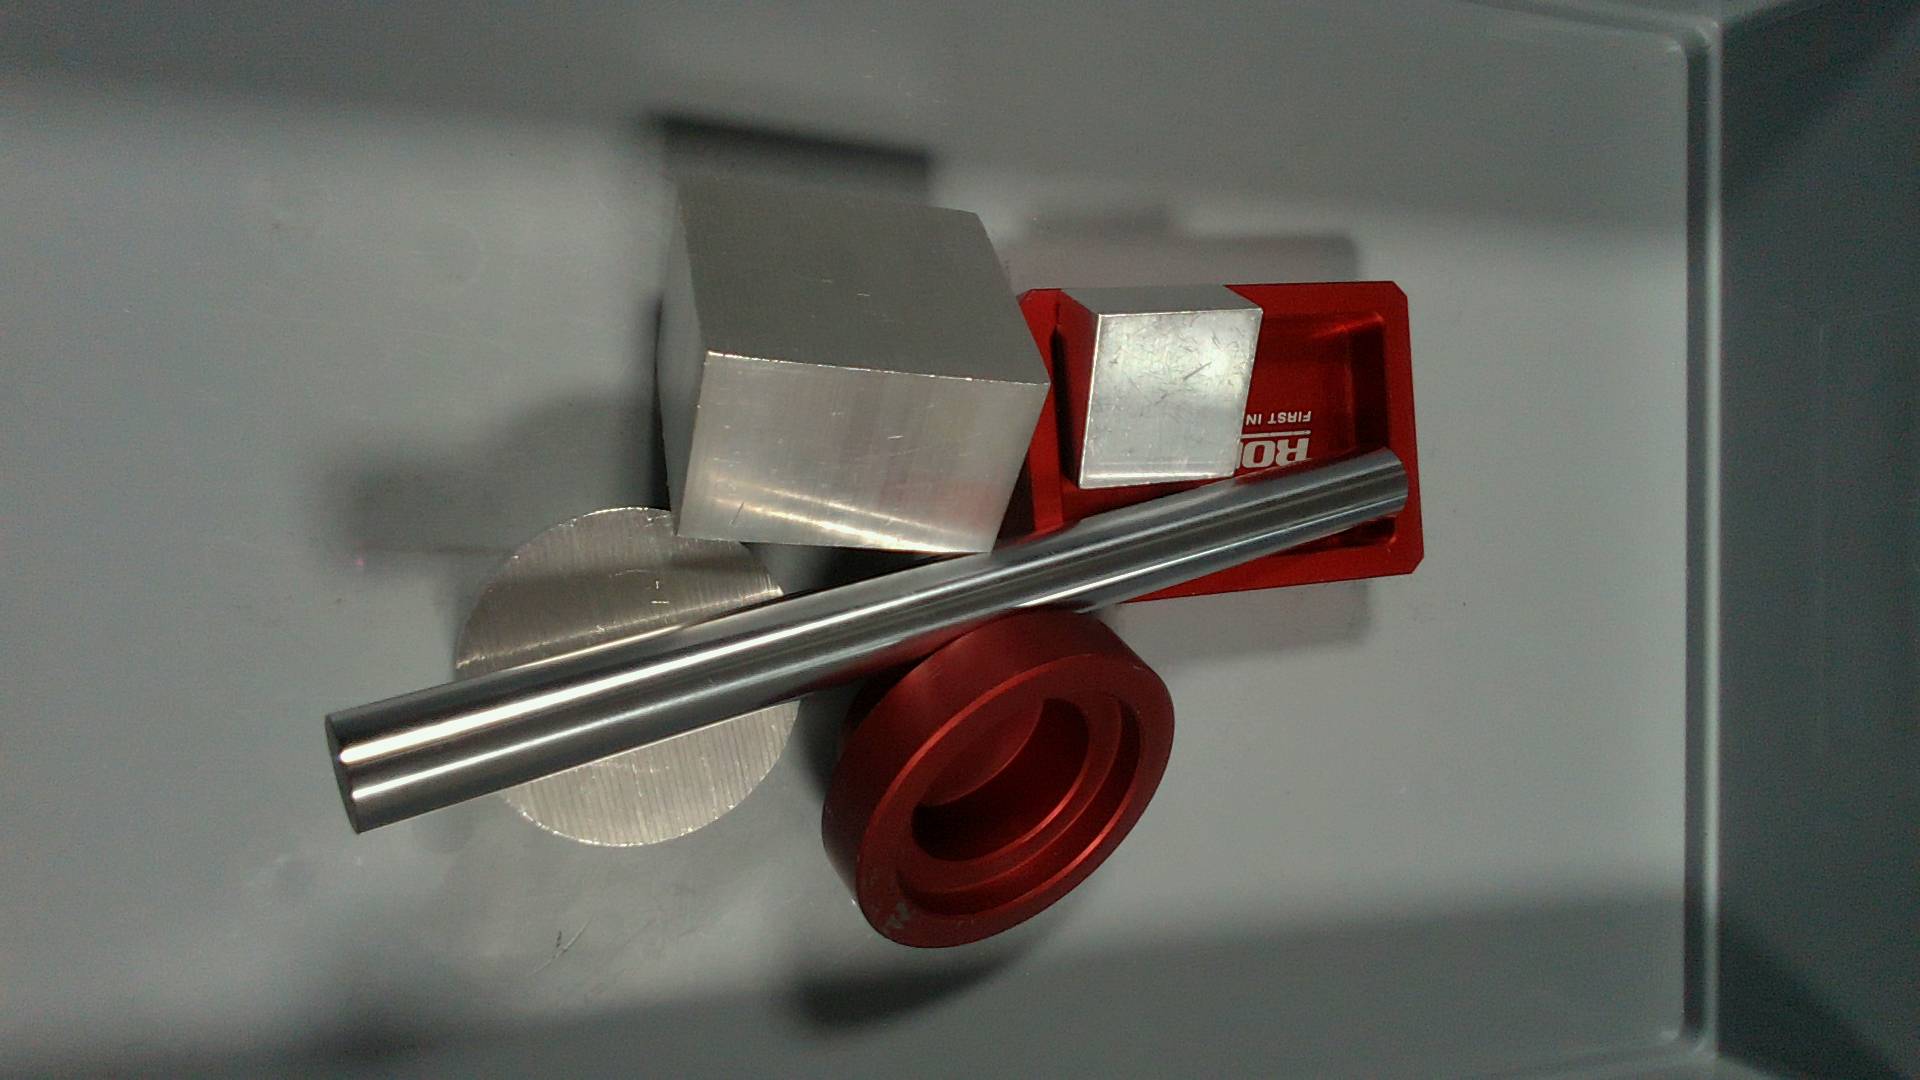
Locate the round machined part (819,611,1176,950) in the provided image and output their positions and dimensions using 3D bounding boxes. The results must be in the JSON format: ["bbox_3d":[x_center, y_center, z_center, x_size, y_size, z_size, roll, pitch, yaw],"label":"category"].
[{"bbox_3d":[0.006,0.059,0.368,0.098,0.042,0.098,-20,132,-23],"label":"round machined part"}]

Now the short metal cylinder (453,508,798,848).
[{"bbox_3d":[-0.085,0.032,0.347,0.080,0.050,0.080,0,90,-20],"label":"short metal cylinder"}]

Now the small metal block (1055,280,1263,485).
[{"bbox_3d":[0.053,-0.045,0.389,0.050,0.025,0.050,-5,118,-19],"label":"small metal block"}]

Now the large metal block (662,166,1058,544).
[{"bbox_3d":[-0.030,-0.046,0.344,0.080,0.080,0.050,3,131,-19],"label":"large metal block"}]

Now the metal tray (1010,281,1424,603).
[{"bbox_3d":[0.075,-0.030,0.416,0.130,0.030,0.090,-5,92,-20],"label":"metal tray"}]

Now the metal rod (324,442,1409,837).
[{"bbox_3d":[0.003,0.014,0.349,0.301,0.025,0.025,-15,95,-30],"label":"metal rod"}]
